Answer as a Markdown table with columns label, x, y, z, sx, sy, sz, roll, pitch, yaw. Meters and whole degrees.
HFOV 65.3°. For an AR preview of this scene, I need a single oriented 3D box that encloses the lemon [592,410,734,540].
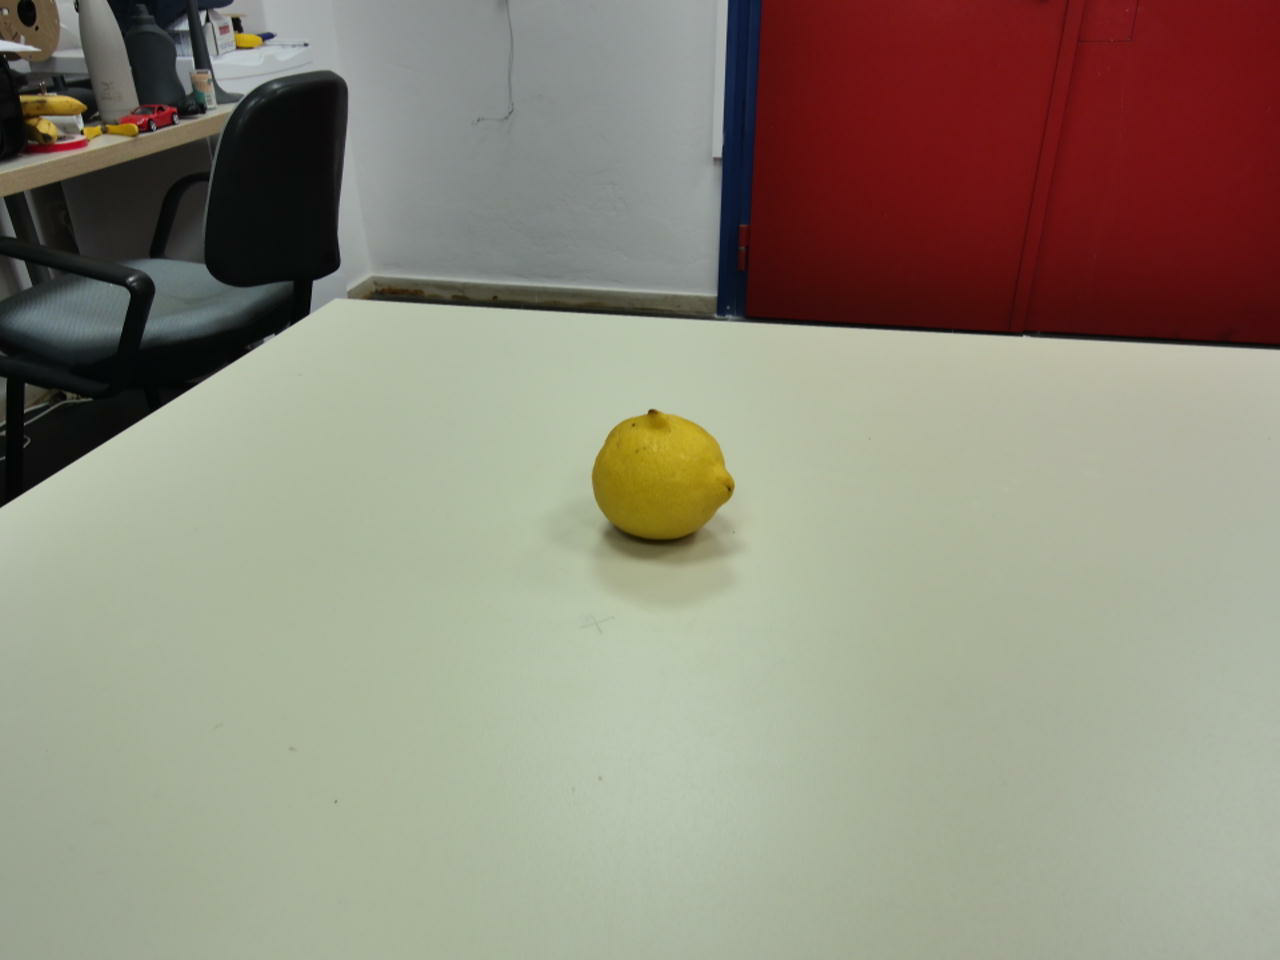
| label | x | y | z | sx | sy | sz | roll | pitch | yaw |
| --- | --- | --- | --- | --- | --- | --- | --- | --- | --- |
| lemon | 0.010 | -0.005 | 0.534 | 0.070 | 0.071 | 0.071 | -11 | 27 | -19 |
